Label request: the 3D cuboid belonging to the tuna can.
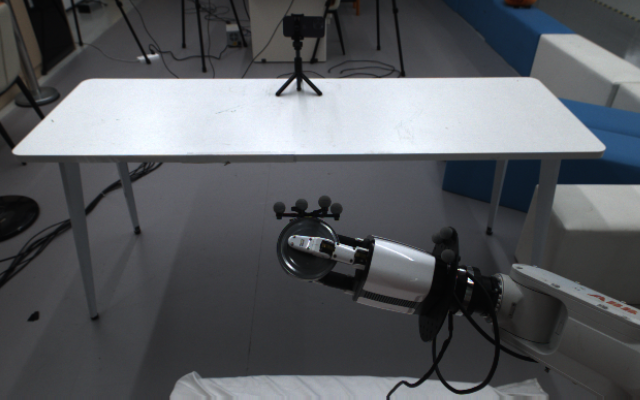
[{"bbox_3d":[-0.014,0.071,0.653,0.085,0.034,0.085,1,69,-4],"label":"tuna can"}]
